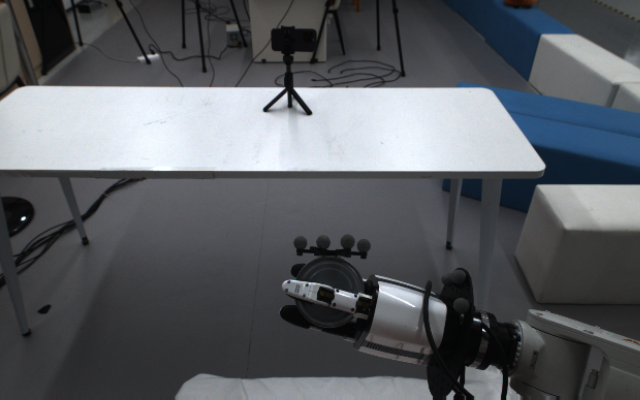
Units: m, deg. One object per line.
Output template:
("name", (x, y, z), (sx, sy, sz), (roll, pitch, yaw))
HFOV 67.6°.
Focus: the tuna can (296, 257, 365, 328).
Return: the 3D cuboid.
("tuna can", (0.013, 0.112, 0.596), (0.085, 0.034, 0.085), (-1, 76, 4))
